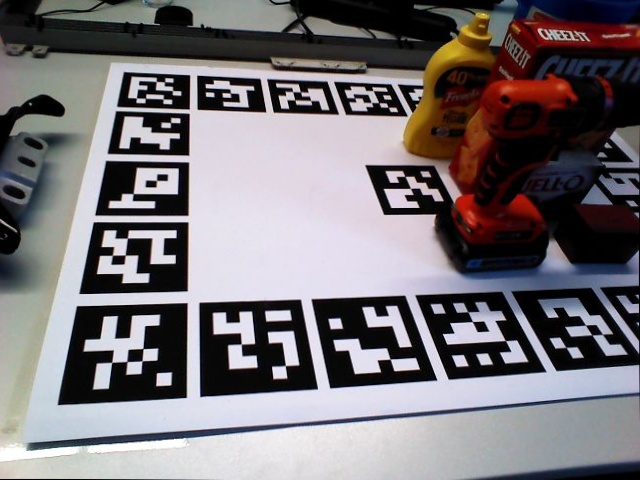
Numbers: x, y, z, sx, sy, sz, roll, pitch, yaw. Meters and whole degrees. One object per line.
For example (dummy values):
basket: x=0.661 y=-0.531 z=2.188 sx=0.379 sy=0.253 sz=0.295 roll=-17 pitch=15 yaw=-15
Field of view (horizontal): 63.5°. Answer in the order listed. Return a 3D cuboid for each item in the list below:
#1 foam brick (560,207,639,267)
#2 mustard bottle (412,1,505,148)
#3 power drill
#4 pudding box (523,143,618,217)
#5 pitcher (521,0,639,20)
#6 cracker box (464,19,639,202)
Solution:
foam brick: x=0.340 y=-0.003 z=0.614 sx=0.078 sy=0.051 sz=0.052 roll=1 pitch=48 yaw=-9
mustard bottle: x=0.189 y=-0.213 z=0.676 sx=0.096 sy=0.192 sz=0.058 roll=9 pitch=47 yaw=-1
power drill: x=0.235 y=-0.074 z=0.522 sx=0.184 sy=0.188 sz=0.057 roll=-1 pitch=44 yaw=-12
pudding box: x=0.279 y=-0.072 z=0.624 sx=0.114 sy=0.090 sz=0.038 roll=-1 pitch=46 yaw=-7
pitcher: x=0.321 y=-0.222 z=0.692 sx=0.189 sy=0.244 sz=0.132 roll=3 pitch=46 yaw=-5
cracker box: x=0.288 y=-0.144 z=0.619 sx=0.164 sy=0.214 sz=0.071 roll=-3 pitch=46 yaw=-10
